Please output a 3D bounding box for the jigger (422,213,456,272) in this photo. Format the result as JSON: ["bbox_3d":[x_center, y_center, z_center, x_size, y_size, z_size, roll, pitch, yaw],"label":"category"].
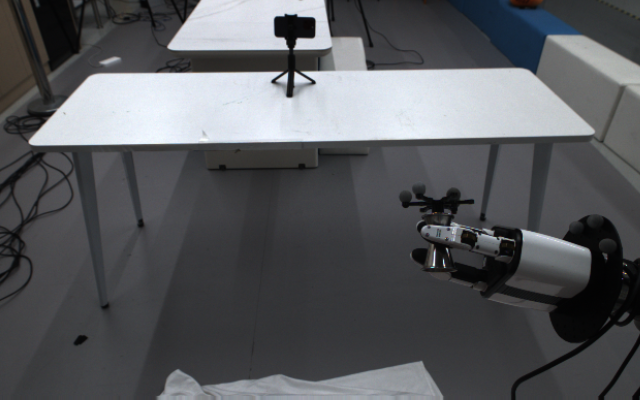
[{"bbox_3d":[0.145,0.051,0.598,0.043,0.043,0.071,3,76,1],"label":"jigger"}]
